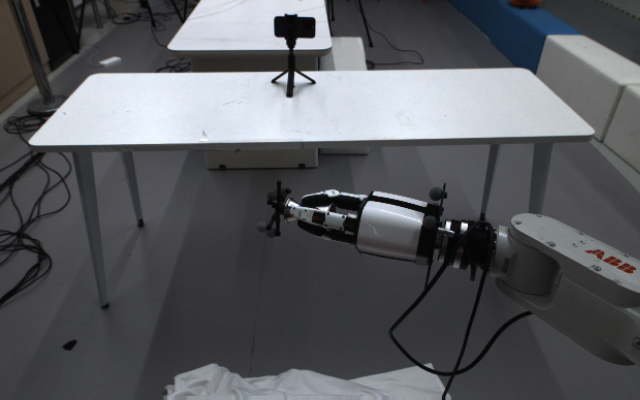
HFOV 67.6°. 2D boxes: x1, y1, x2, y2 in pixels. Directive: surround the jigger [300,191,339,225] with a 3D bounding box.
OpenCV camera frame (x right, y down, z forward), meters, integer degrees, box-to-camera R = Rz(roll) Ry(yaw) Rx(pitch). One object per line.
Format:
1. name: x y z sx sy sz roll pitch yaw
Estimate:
1. jigger: -0.009 0.016 0.723 0.071 0.043 0.043 8 35 16
